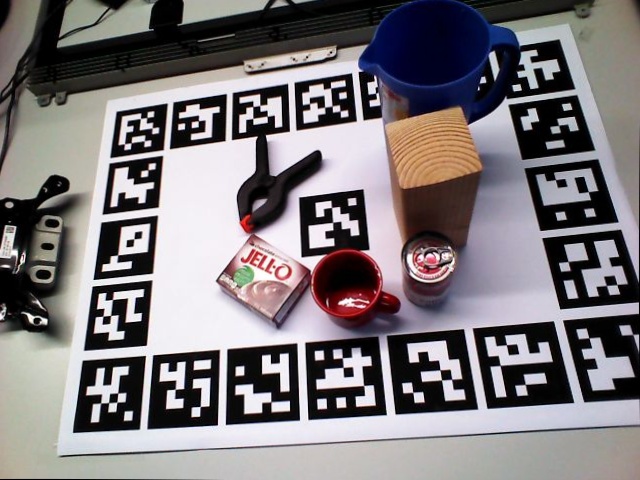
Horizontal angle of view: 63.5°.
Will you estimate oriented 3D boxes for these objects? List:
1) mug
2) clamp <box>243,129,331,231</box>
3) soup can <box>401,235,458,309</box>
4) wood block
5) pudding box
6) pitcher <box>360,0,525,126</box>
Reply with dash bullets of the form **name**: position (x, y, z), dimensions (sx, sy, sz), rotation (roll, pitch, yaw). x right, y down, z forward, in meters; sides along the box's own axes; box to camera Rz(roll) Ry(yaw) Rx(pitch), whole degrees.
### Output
- **mug**: position (0.050, 0.076, 0.674), dimensions (0.117, 0.081, 0.093), rotation (29, 73, 23)
- **clamp**: position (-0.070, -0.088, 0.805), dimensions (0.122, 0.036, 0.164), rotation (24, 74, 13)
- **soup can**: position (0.139, 0.043, 0.656), dimensions (0.068, 0.102, 0.067), rotation (-4, 68, 10)
- **wood block**: position (0.144, -0.061, 0.643), dimensions (0.090, 0.206, 0.090), rotation (-8, 65, 4)
- **pudding box**: position (-0.086, 0.058, 0.738), dimensions (0.114, 0.038, 0.090), rotation (30, 79, 23)
- **pitcher**: position (0.161, -0.180, 0.675), dimensions (0.190, 0.243, 0.132), rotation (-8, 63, 11)
